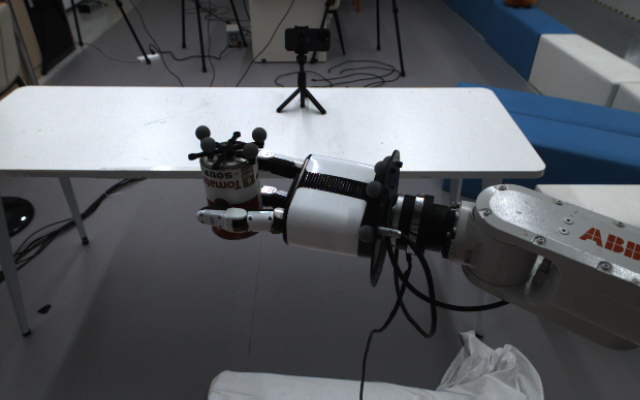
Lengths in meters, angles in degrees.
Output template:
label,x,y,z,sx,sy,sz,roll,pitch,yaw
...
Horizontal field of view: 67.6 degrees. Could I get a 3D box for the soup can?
label,x,y,z,sx,sy,sz,roll,pitch,yaw
soup can,-0.103,-0.012,0.589,0.067,0.101,0.067,-2,34,1
